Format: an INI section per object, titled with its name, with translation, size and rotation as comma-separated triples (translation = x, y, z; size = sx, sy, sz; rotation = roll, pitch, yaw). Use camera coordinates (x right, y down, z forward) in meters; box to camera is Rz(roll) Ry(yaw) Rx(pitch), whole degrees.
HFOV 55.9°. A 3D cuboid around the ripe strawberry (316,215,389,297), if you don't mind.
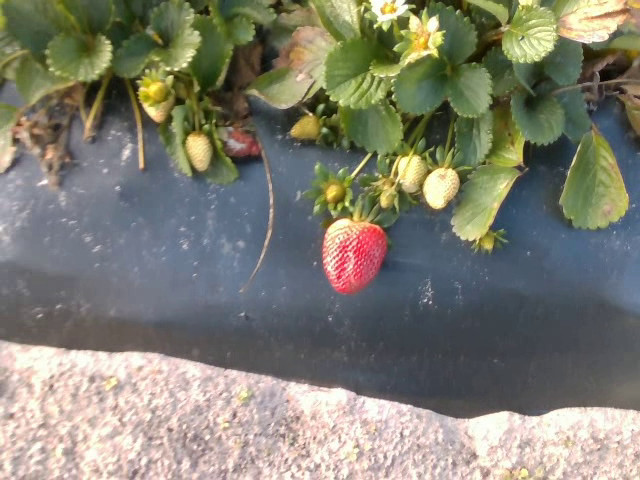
[ripe strawberry]
translation = 0.025, 0.015, 0.491
size = 0.052, 0.068, 0.045
rotation = 9, -25, 1
